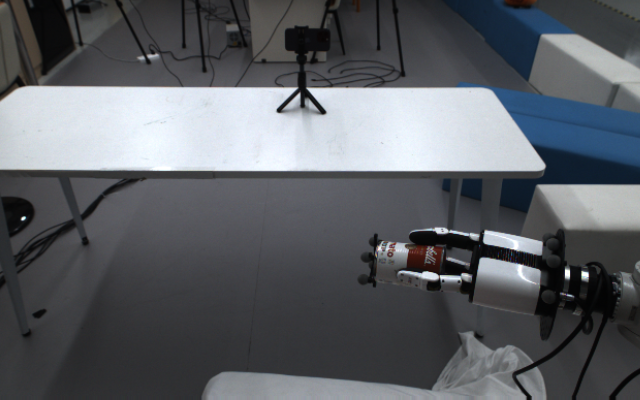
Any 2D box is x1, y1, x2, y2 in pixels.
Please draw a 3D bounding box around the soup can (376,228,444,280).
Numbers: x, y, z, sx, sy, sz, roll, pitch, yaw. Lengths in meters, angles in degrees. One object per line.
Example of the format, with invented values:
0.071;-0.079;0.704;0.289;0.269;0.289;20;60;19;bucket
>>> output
0.143;0.100;0.749;0.101;0.067;0.067;4;34;19;soup can
